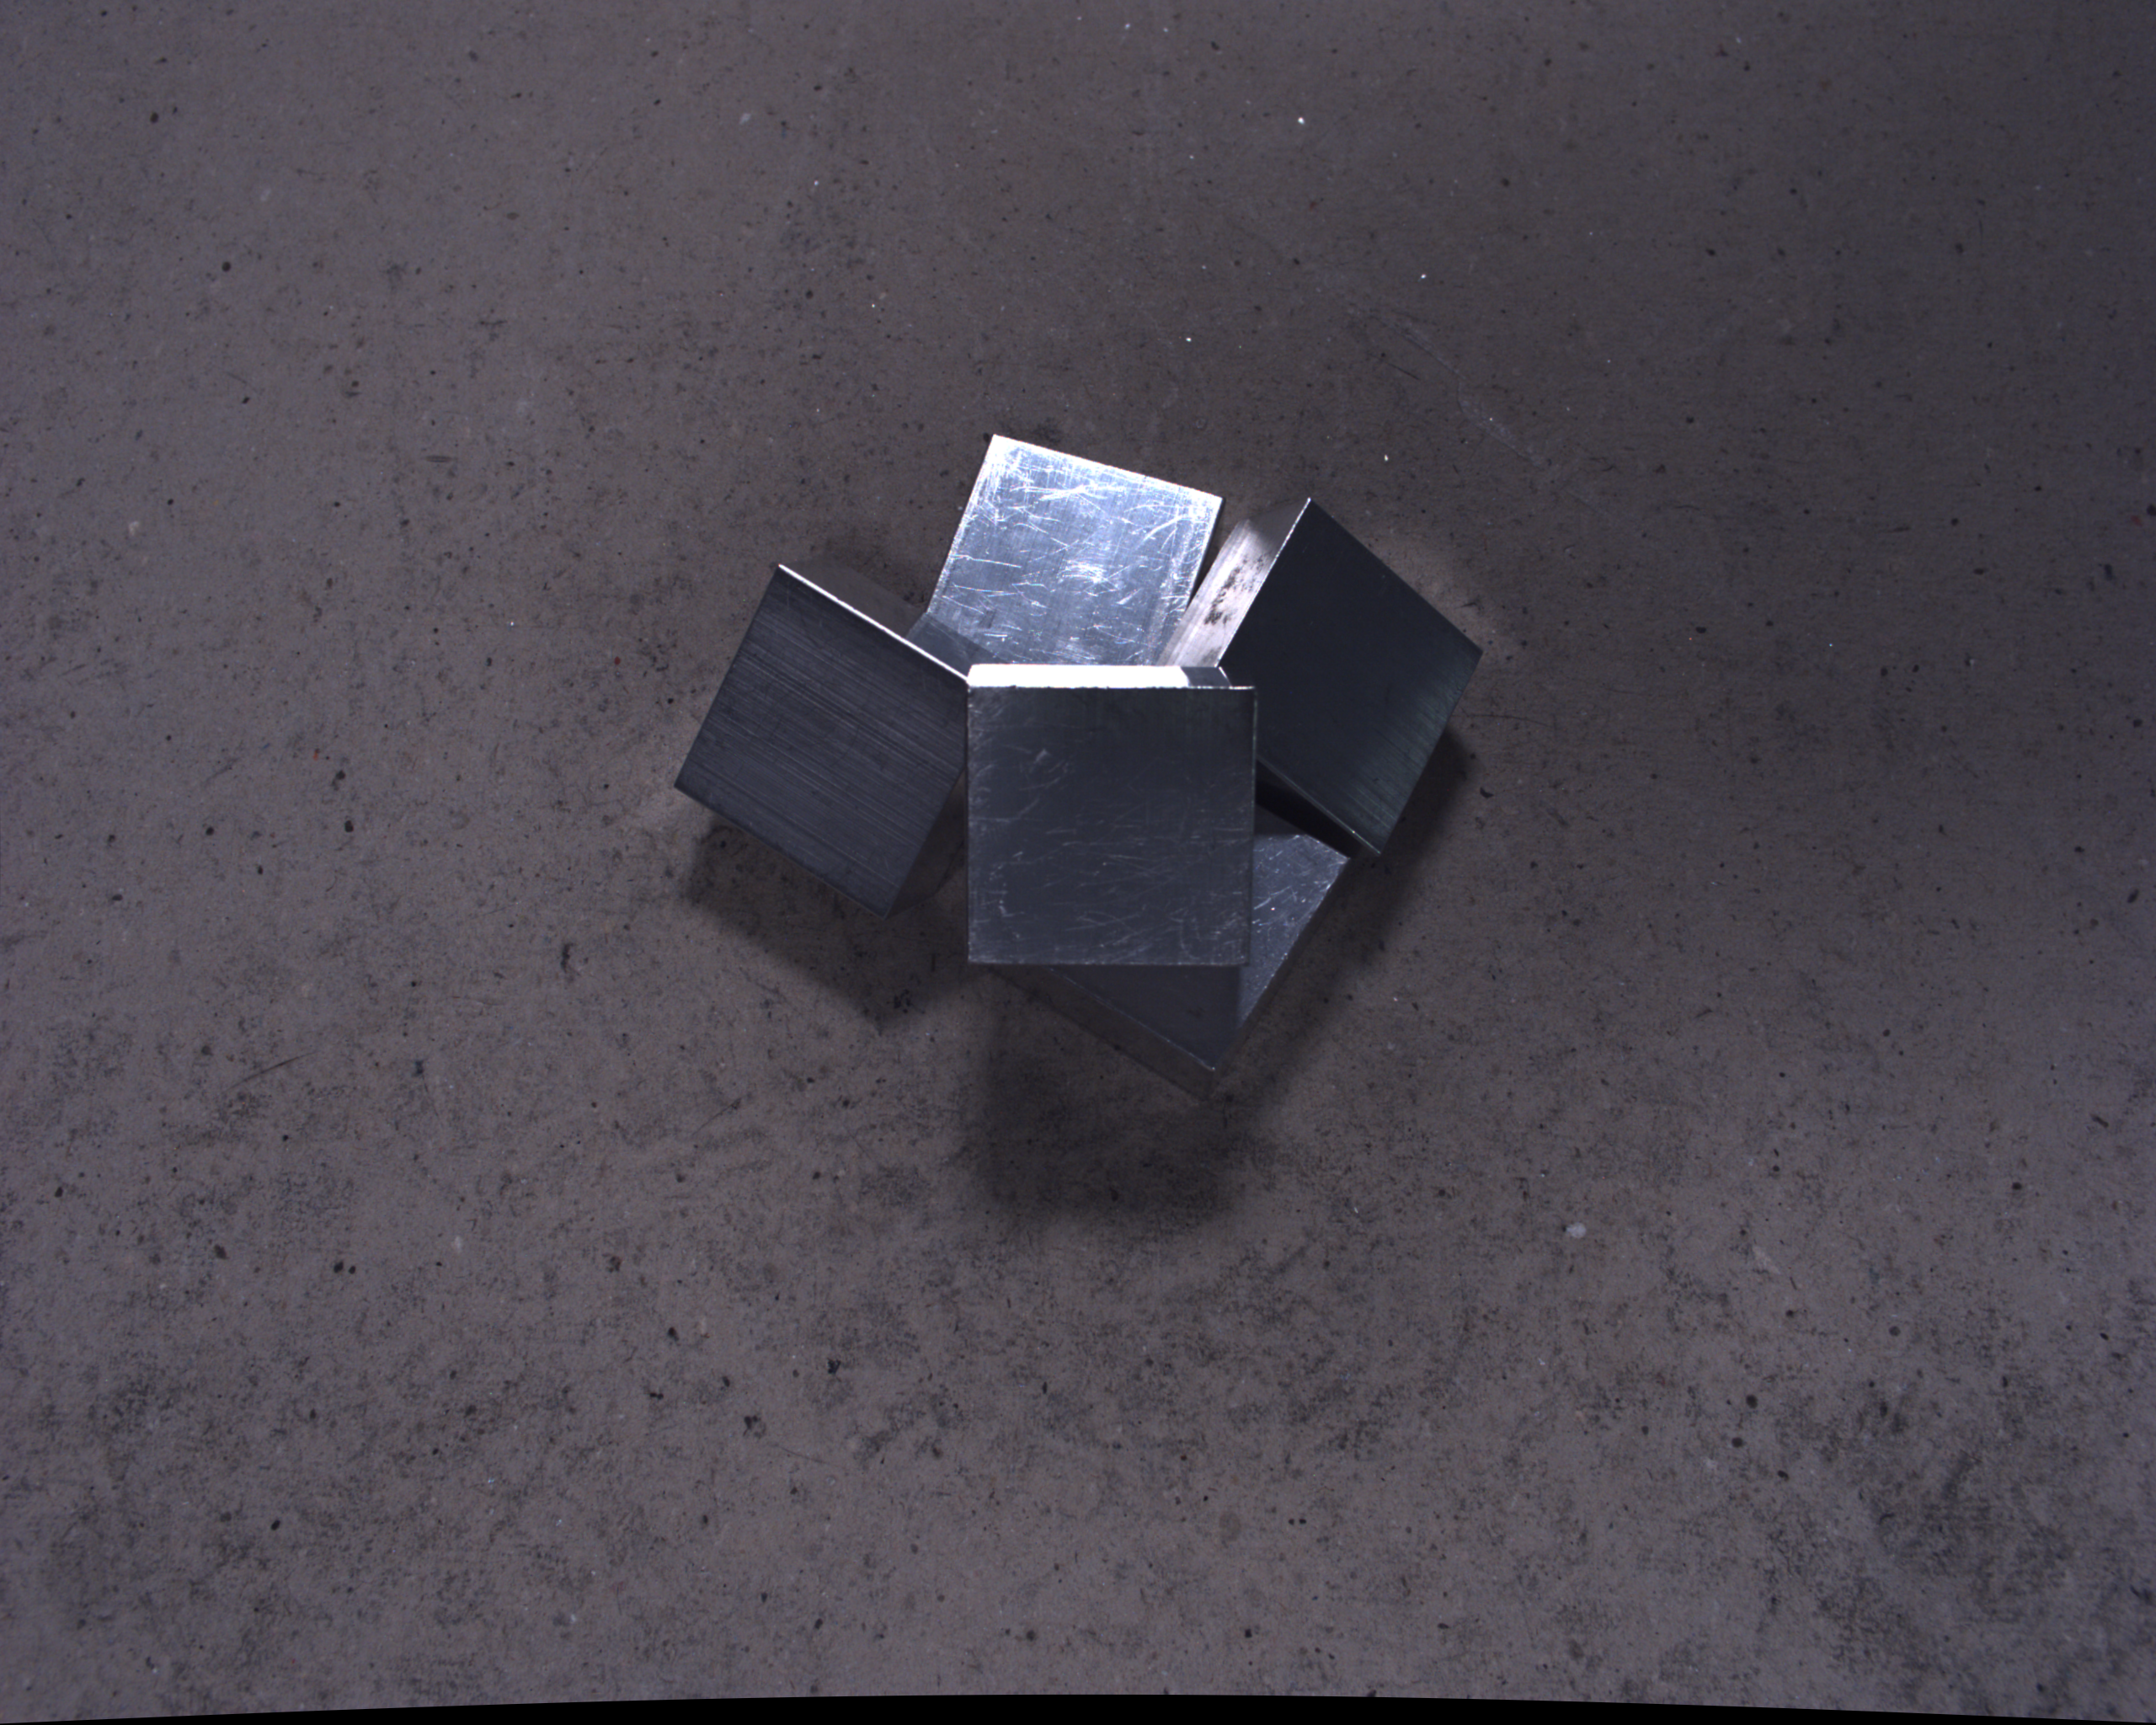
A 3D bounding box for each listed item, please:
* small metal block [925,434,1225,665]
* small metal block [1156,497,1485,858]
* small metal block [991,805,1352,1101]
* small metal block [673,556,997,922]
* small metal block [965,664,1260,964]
[{"bbox_3d":[-0.002,-0.055,0.430,0.050,0.025,0.050,16,71,5],"label":"small metal block"},{"bbox_3d":[0.045,-0.035,0.411,0.050,0.025,0.050,37,71,-23],"label":"small metal block"},{"bbox_3d":[0.017,0.010,0.406,0.050,0.025,0.050,31,73,10],"label":"small metal block"},{"bbox_3d":[-0.042,-0.025,0.406,0.050,0.025,0.050,32,109,9],"label":"small metal block"},{"bbox_3d":[0.006,-0.009,0.374,0.050,0.025,0.050,0,103,0],"label":"small metal block"}]
